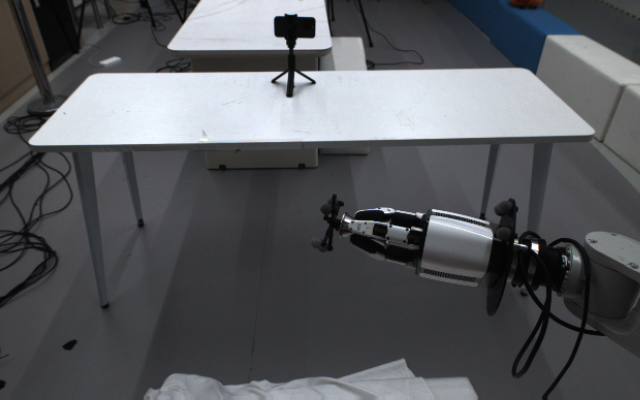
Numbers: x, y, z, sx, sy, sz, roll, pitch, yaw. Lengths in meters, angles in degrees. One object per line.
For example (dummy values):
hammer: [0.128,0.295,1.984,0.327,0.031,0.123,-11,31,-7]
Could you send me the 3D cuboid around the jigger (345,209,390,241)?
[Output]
jigger: [0.072,0.038,0.693,0.071,0.043,0.043,10,35,16]
